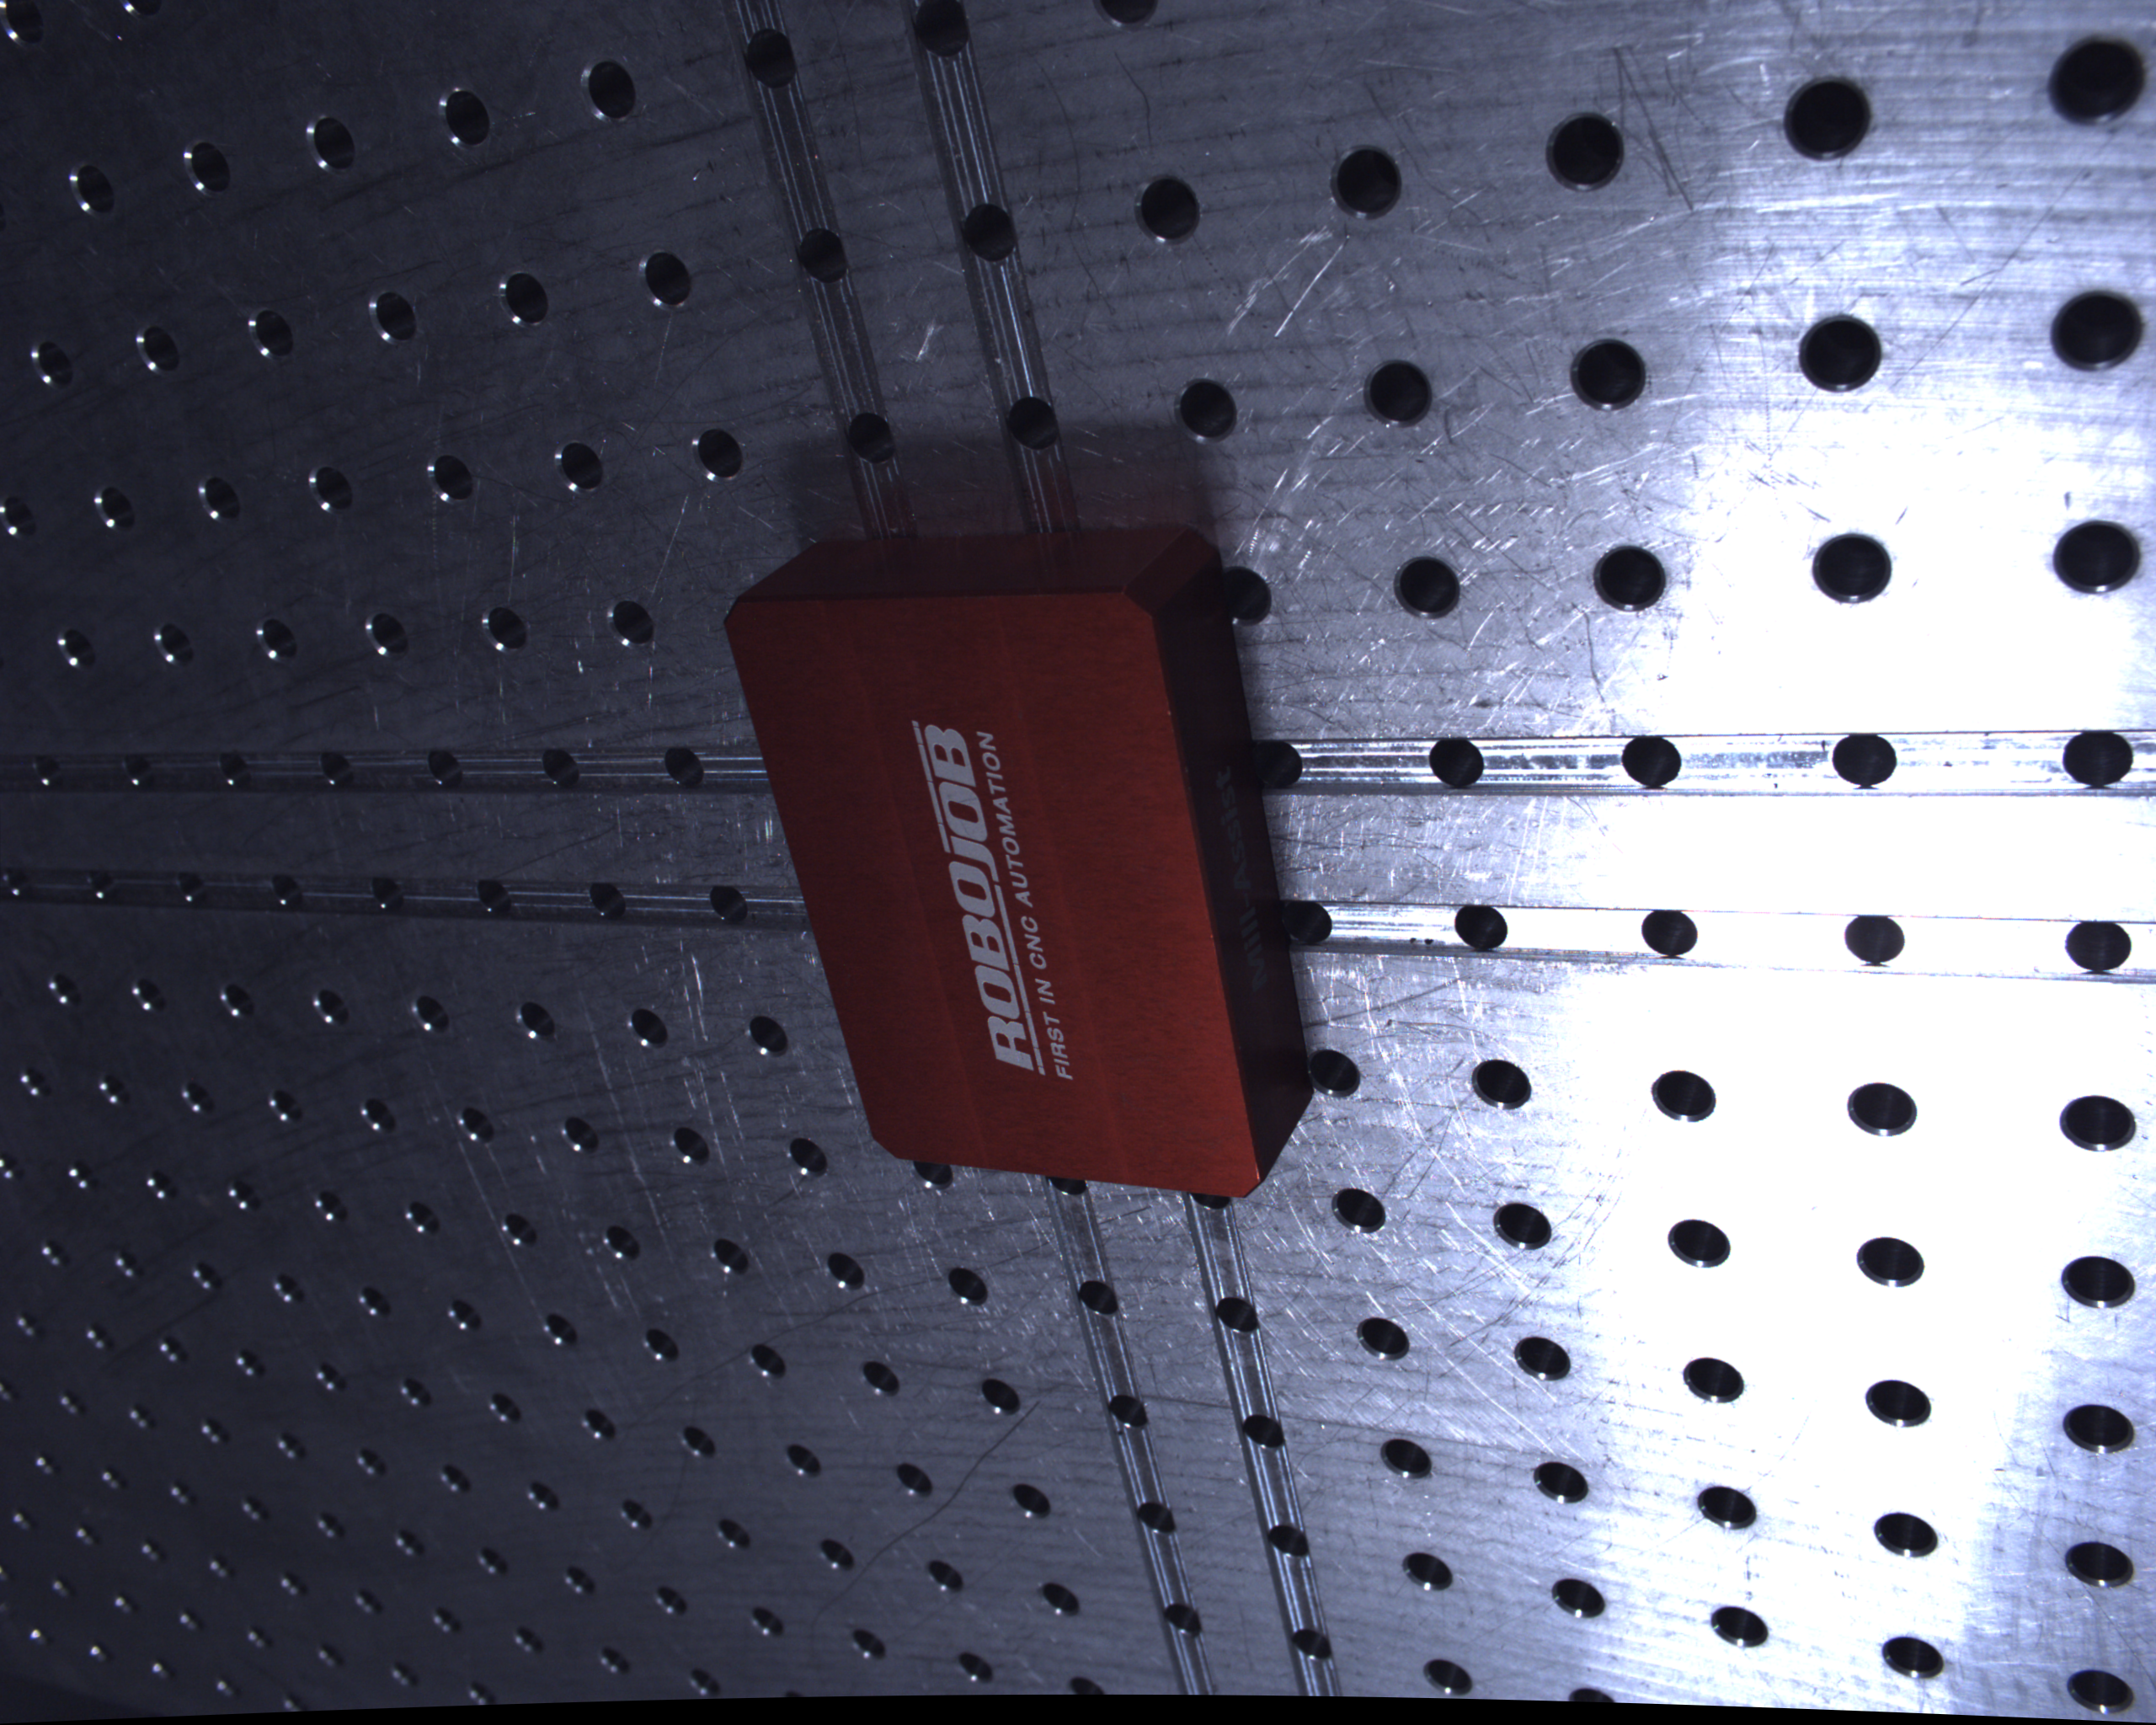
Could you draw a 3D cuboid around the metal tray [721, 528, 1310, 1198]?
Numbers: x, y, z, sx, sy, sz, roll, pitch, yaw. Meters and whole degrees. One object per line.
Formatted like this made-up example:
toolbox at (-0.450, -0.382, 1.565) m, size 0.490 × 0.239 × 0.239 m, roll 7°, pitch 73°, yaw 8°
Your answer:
metal tray at (-0.010, 0.001, 0.412) m, size 0.090 × 0.030 × 0.129 m, roll 2°, pitch 120°, yaw 27°
